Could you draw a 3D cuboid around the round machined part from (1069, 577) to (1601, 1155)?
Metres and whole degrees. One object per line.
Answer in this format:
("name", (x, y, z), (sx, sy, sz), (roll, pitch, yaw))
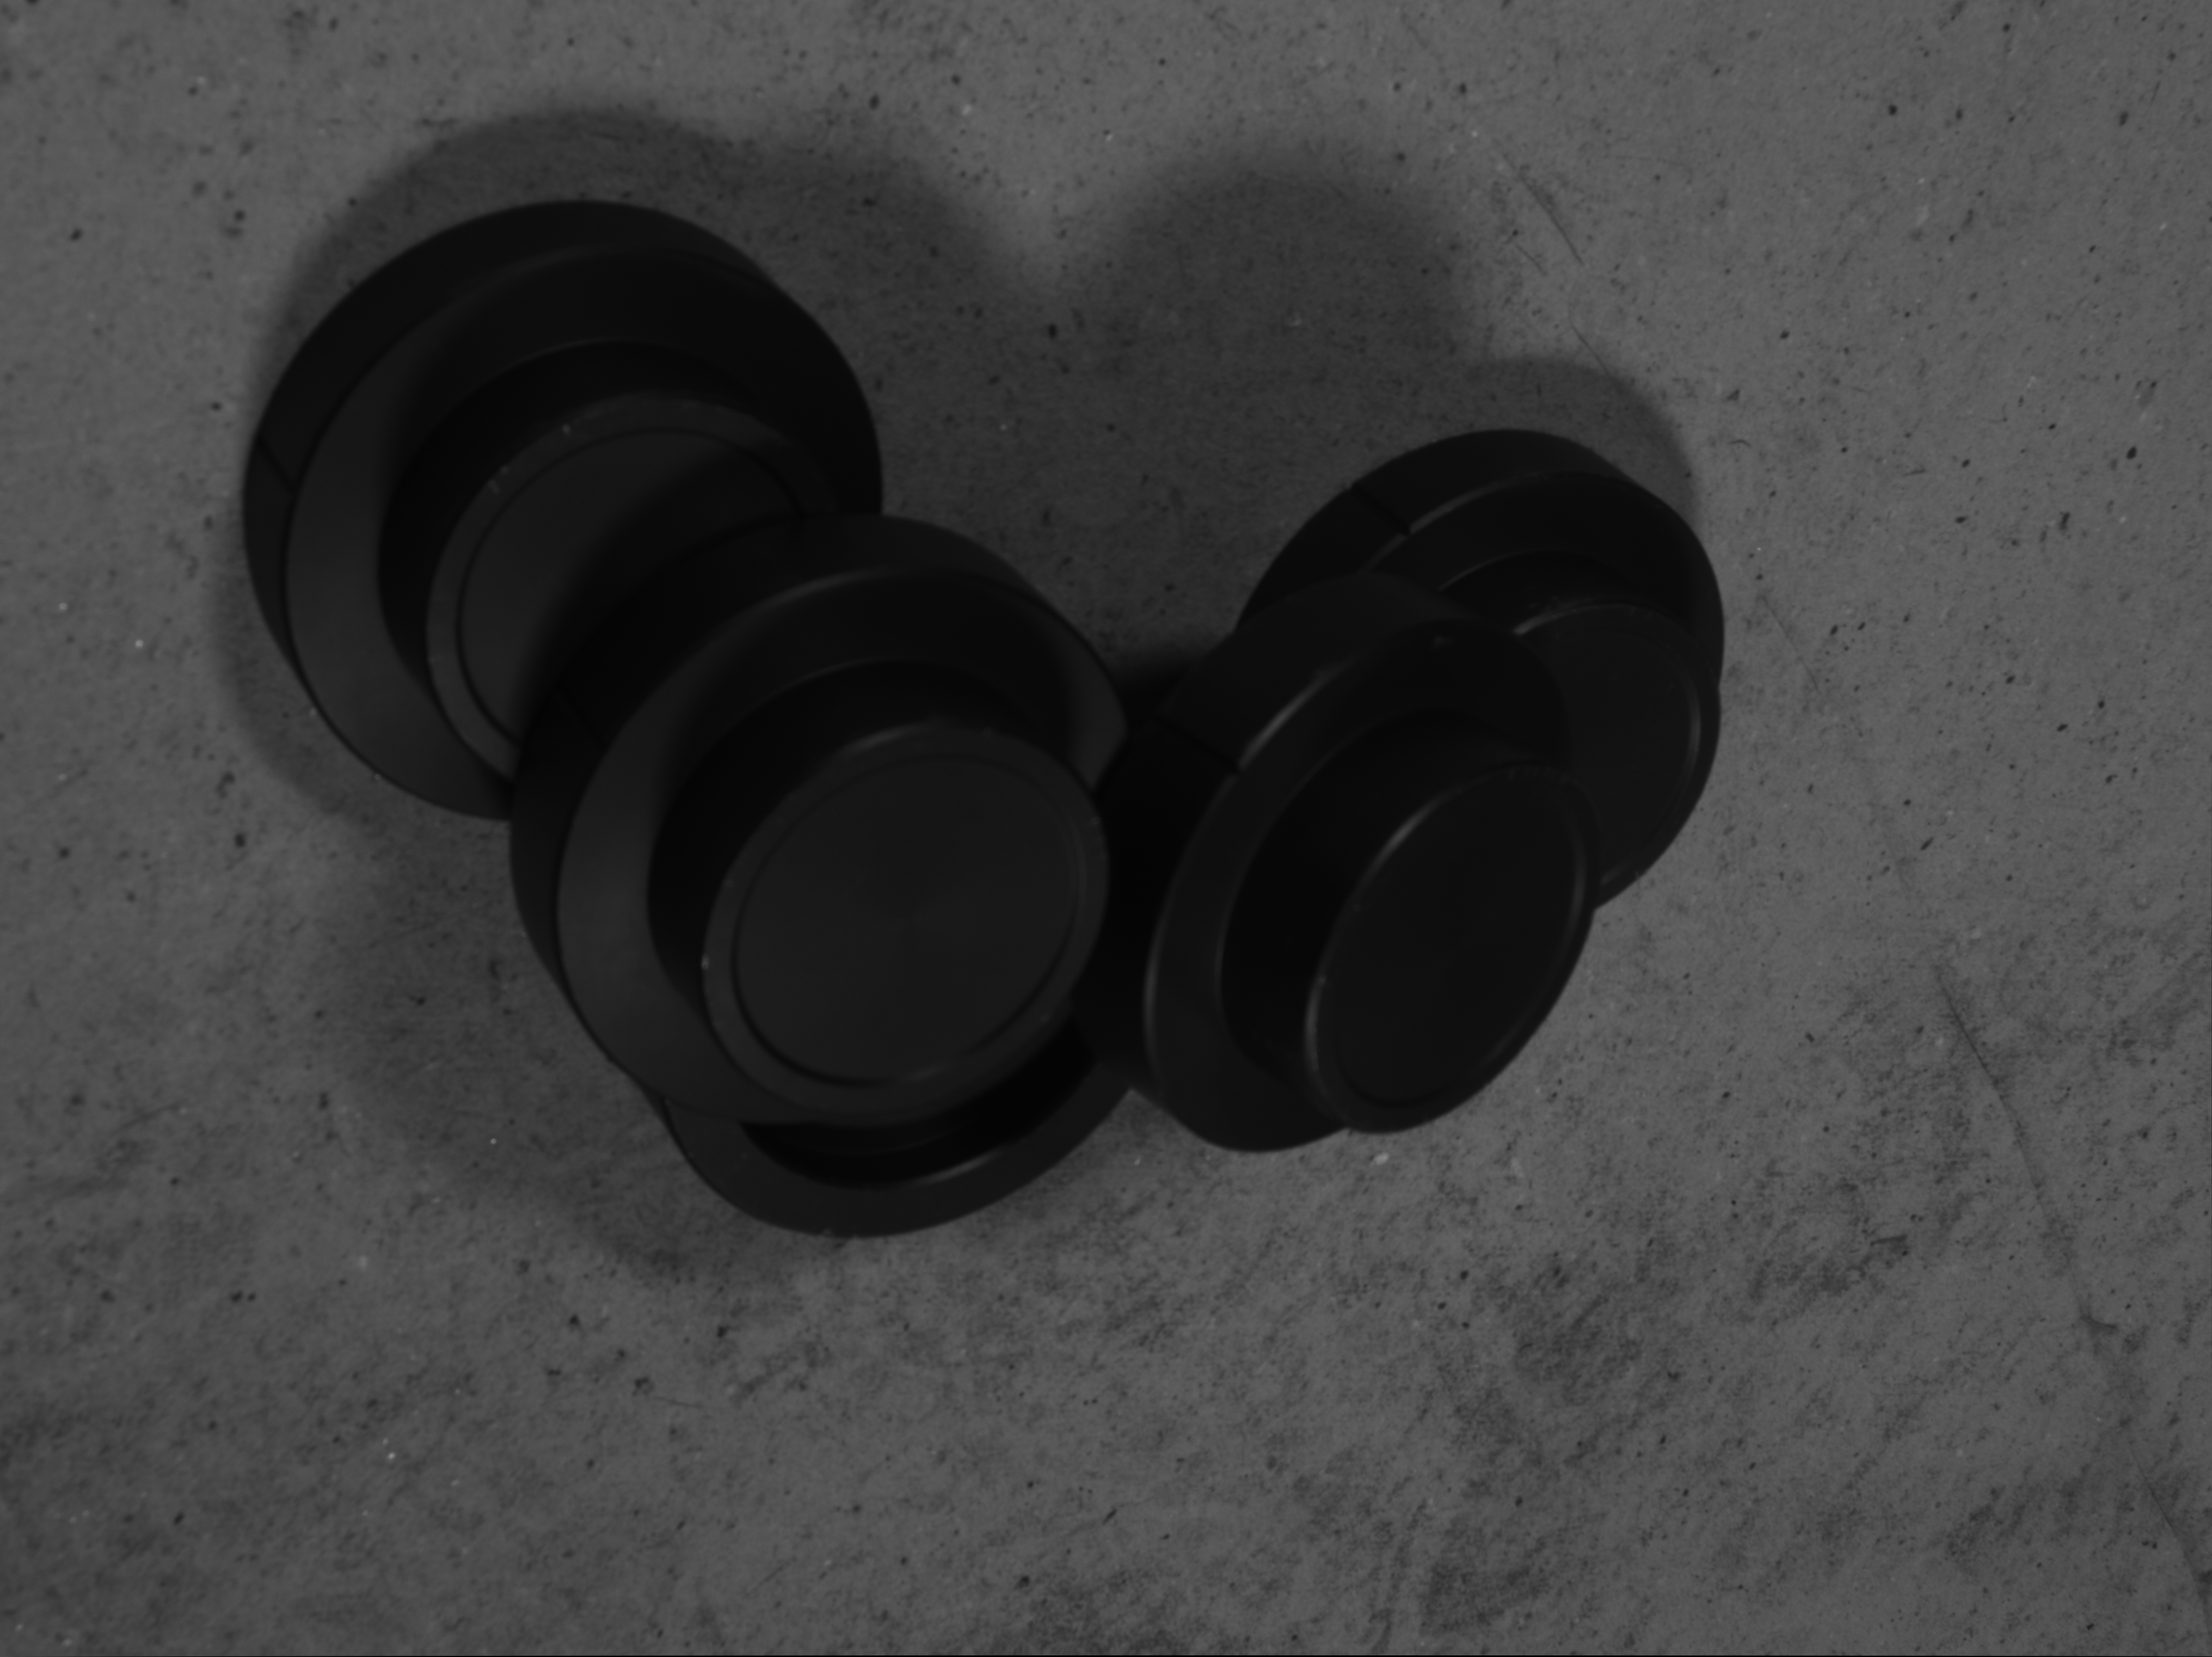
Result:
("round machined part", (0.043, 0.011, 0.604), (0.098, 0.042, 0.098), (-25, 132, -31))

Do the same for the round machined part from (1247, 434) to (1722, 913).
("round machined part", (0.072, -0.019, 0.670), (0.098, 0.042, 0.098), (-15, 125, -22))

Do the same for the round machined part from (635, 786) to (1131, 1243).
("round machined part", (-0.039, 0.019, 0.629), (0.098, 0.042, 0.098), (-15, 125, -22))

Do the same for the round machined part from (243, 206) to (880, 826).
("round machined part", (-0.080, -0.043, 0.566), (0.098, 0.042, 0.098), (-15, 125, -22))

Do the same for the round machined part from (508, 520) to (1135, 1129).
("round machined part", (-0.039, 0.005, 0.565), (0.098, 0.042, 0.098), (-15, 125, -22))
